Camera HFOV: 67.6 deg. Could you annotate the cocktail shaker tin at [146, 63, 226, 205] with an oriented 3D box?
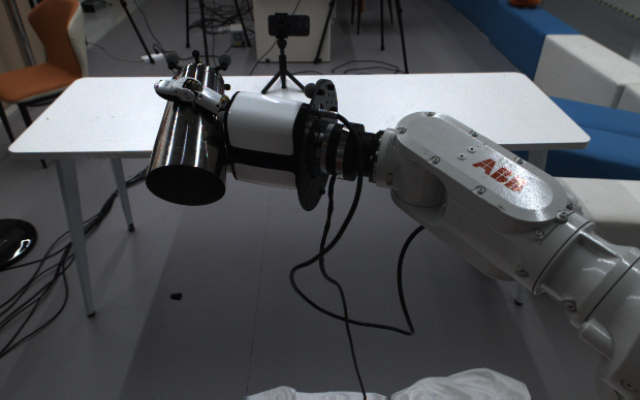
[{"bbox_3d":[-0.161,-0.089,0.609,0.093,0.093,0.170,0,59,-3],"label":"cocktail shaker tin"}]
